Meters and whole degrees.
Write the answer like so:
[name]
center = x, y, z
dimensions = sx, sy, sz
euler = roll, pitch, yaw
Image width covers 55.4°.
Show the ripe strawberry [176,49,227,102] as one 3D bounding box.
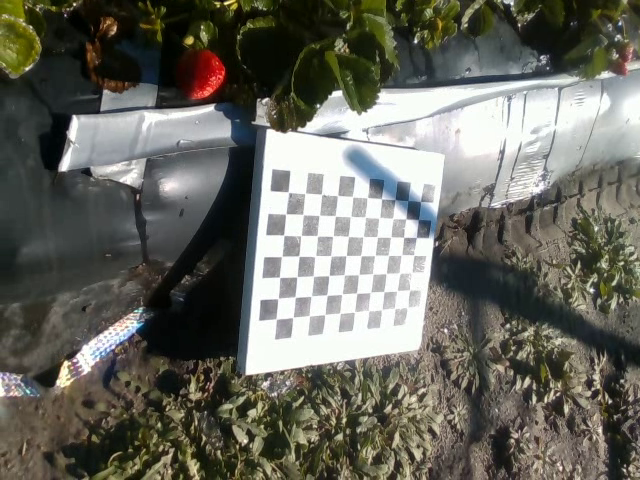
[ripe strawberry]
center = -0.120, -0.162, 0.623
dimensions = 0.057, 0.065, 0.061
euler = -29, -48, 22
